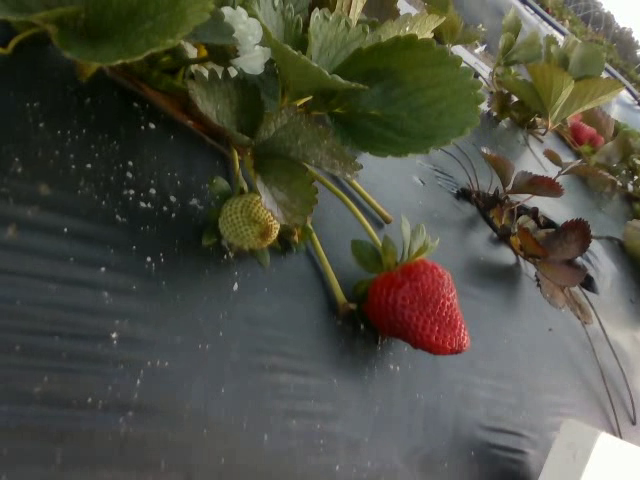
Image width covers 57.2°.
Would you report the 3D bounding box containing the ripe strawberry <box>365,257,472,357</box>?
[{"bbox_3d":[0.044,0.031,0.245,0.045,0.042,0.054,-27,40,-18],"label":"ripe strawberry"}]
